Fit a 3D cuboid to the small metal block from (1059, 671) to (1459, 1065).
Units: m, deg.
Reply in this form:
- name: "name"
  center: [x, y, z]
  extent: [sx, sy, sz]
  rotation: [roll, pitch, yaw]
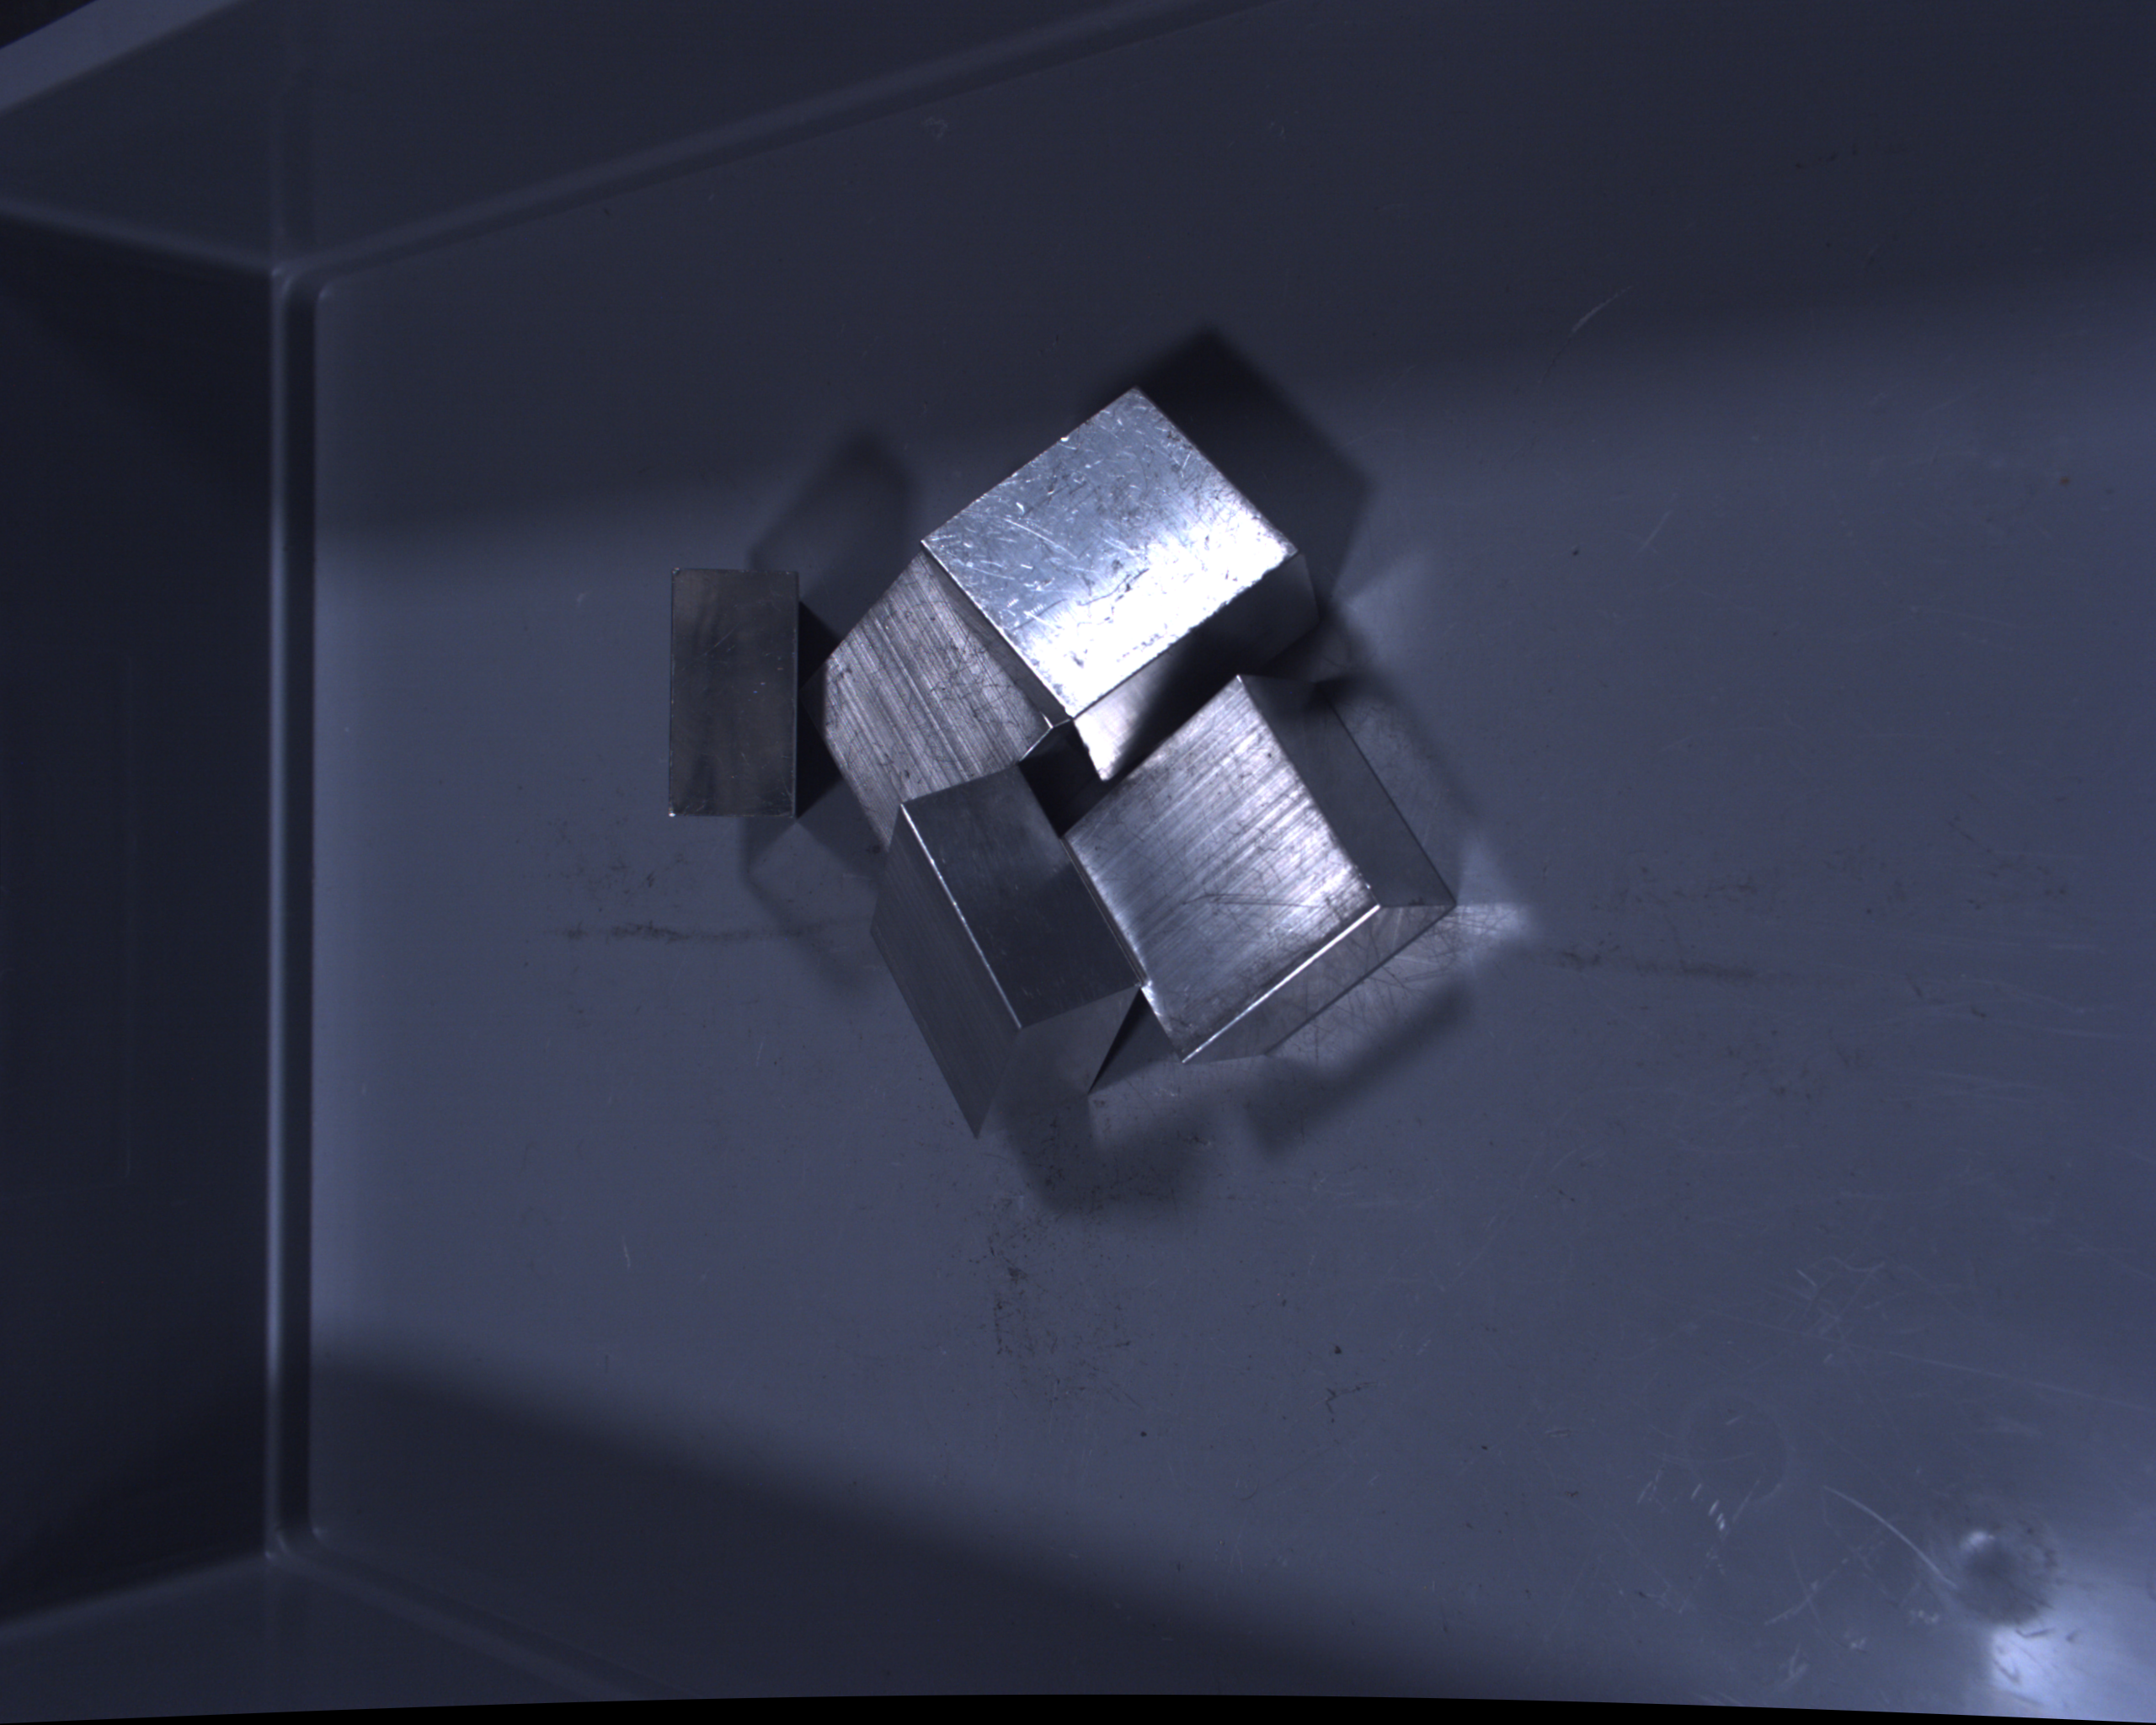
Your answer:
- name: "small metal block"
  center: [0.032, 0.001, 0.377]
  extent: [0.050, 0.025, 0.050]
  rotation: [-43, 64, 31]

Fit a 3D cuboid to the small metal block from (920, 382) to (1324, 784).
- name: "small metal block"
  center: [0.008, -0.051, 0.381]
  extent: [0.050, 0.025, 0.050]
  rotation: [-37, 62, -5]

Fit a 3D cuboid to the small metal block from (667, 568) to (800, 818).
- name: "small metal block"
  center: [-0.072, -0.034, 0.444]
  extent: [0.050, 0.025, 0.050]
  rotation: [-177, 88, -83]

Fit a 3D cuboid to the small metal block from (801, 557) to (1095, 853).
- name: "small metal block"
  center: [-0.023, -0.031, 0.421]
  extent: [0.050, 0.025, 0.050]
  rotation: [-45, 64, 30]

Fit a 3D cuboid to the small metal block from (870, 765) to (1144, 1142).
- name: "small metal block"
  center: [-0.015, 0.018, 0.400]
  extent: [0.050, 0.025, 0.050]
  rotation: [60, 155, 22]
